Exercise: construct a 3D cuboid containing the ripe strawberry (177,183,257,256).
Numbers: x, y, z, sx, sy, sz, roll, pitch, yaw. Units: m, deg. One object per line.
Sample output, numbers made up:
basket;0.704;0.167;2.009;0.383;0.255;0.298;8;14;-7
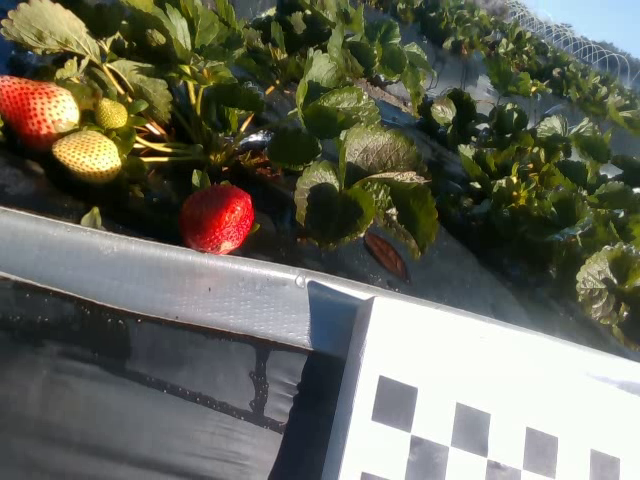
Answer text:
ripe strawberry;-0.043;-0.009;0.256;0.036;0.038;0.045;18;-10;-14
